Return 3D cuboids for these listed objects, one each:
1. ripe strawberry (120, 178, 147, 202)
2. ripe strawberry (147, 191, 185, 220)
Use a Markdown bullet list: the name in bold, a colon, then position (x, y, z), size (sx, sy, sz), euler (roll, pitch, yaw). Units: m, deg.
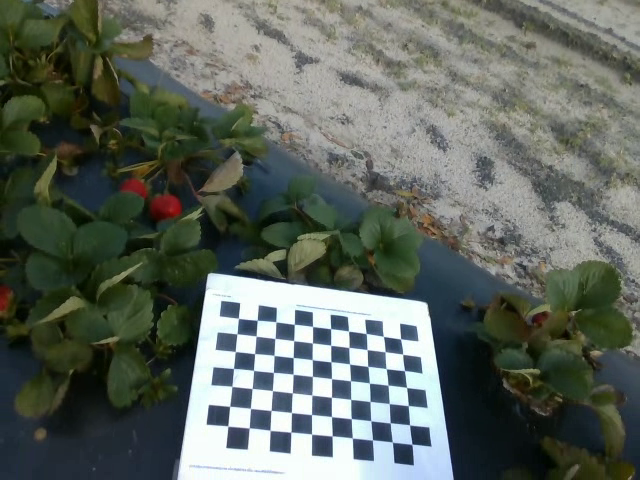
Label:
- **ripe strawberry**: position (-0.302, -0.077, 0.951), size (0.048, 0.041, 0.056), euler (20, 22, 0)
- **ripe strawberry**: position (-0.244, -0.055, 0.941), size (0.057, 0.051, 0.064), euler (-6, 18, -25)
